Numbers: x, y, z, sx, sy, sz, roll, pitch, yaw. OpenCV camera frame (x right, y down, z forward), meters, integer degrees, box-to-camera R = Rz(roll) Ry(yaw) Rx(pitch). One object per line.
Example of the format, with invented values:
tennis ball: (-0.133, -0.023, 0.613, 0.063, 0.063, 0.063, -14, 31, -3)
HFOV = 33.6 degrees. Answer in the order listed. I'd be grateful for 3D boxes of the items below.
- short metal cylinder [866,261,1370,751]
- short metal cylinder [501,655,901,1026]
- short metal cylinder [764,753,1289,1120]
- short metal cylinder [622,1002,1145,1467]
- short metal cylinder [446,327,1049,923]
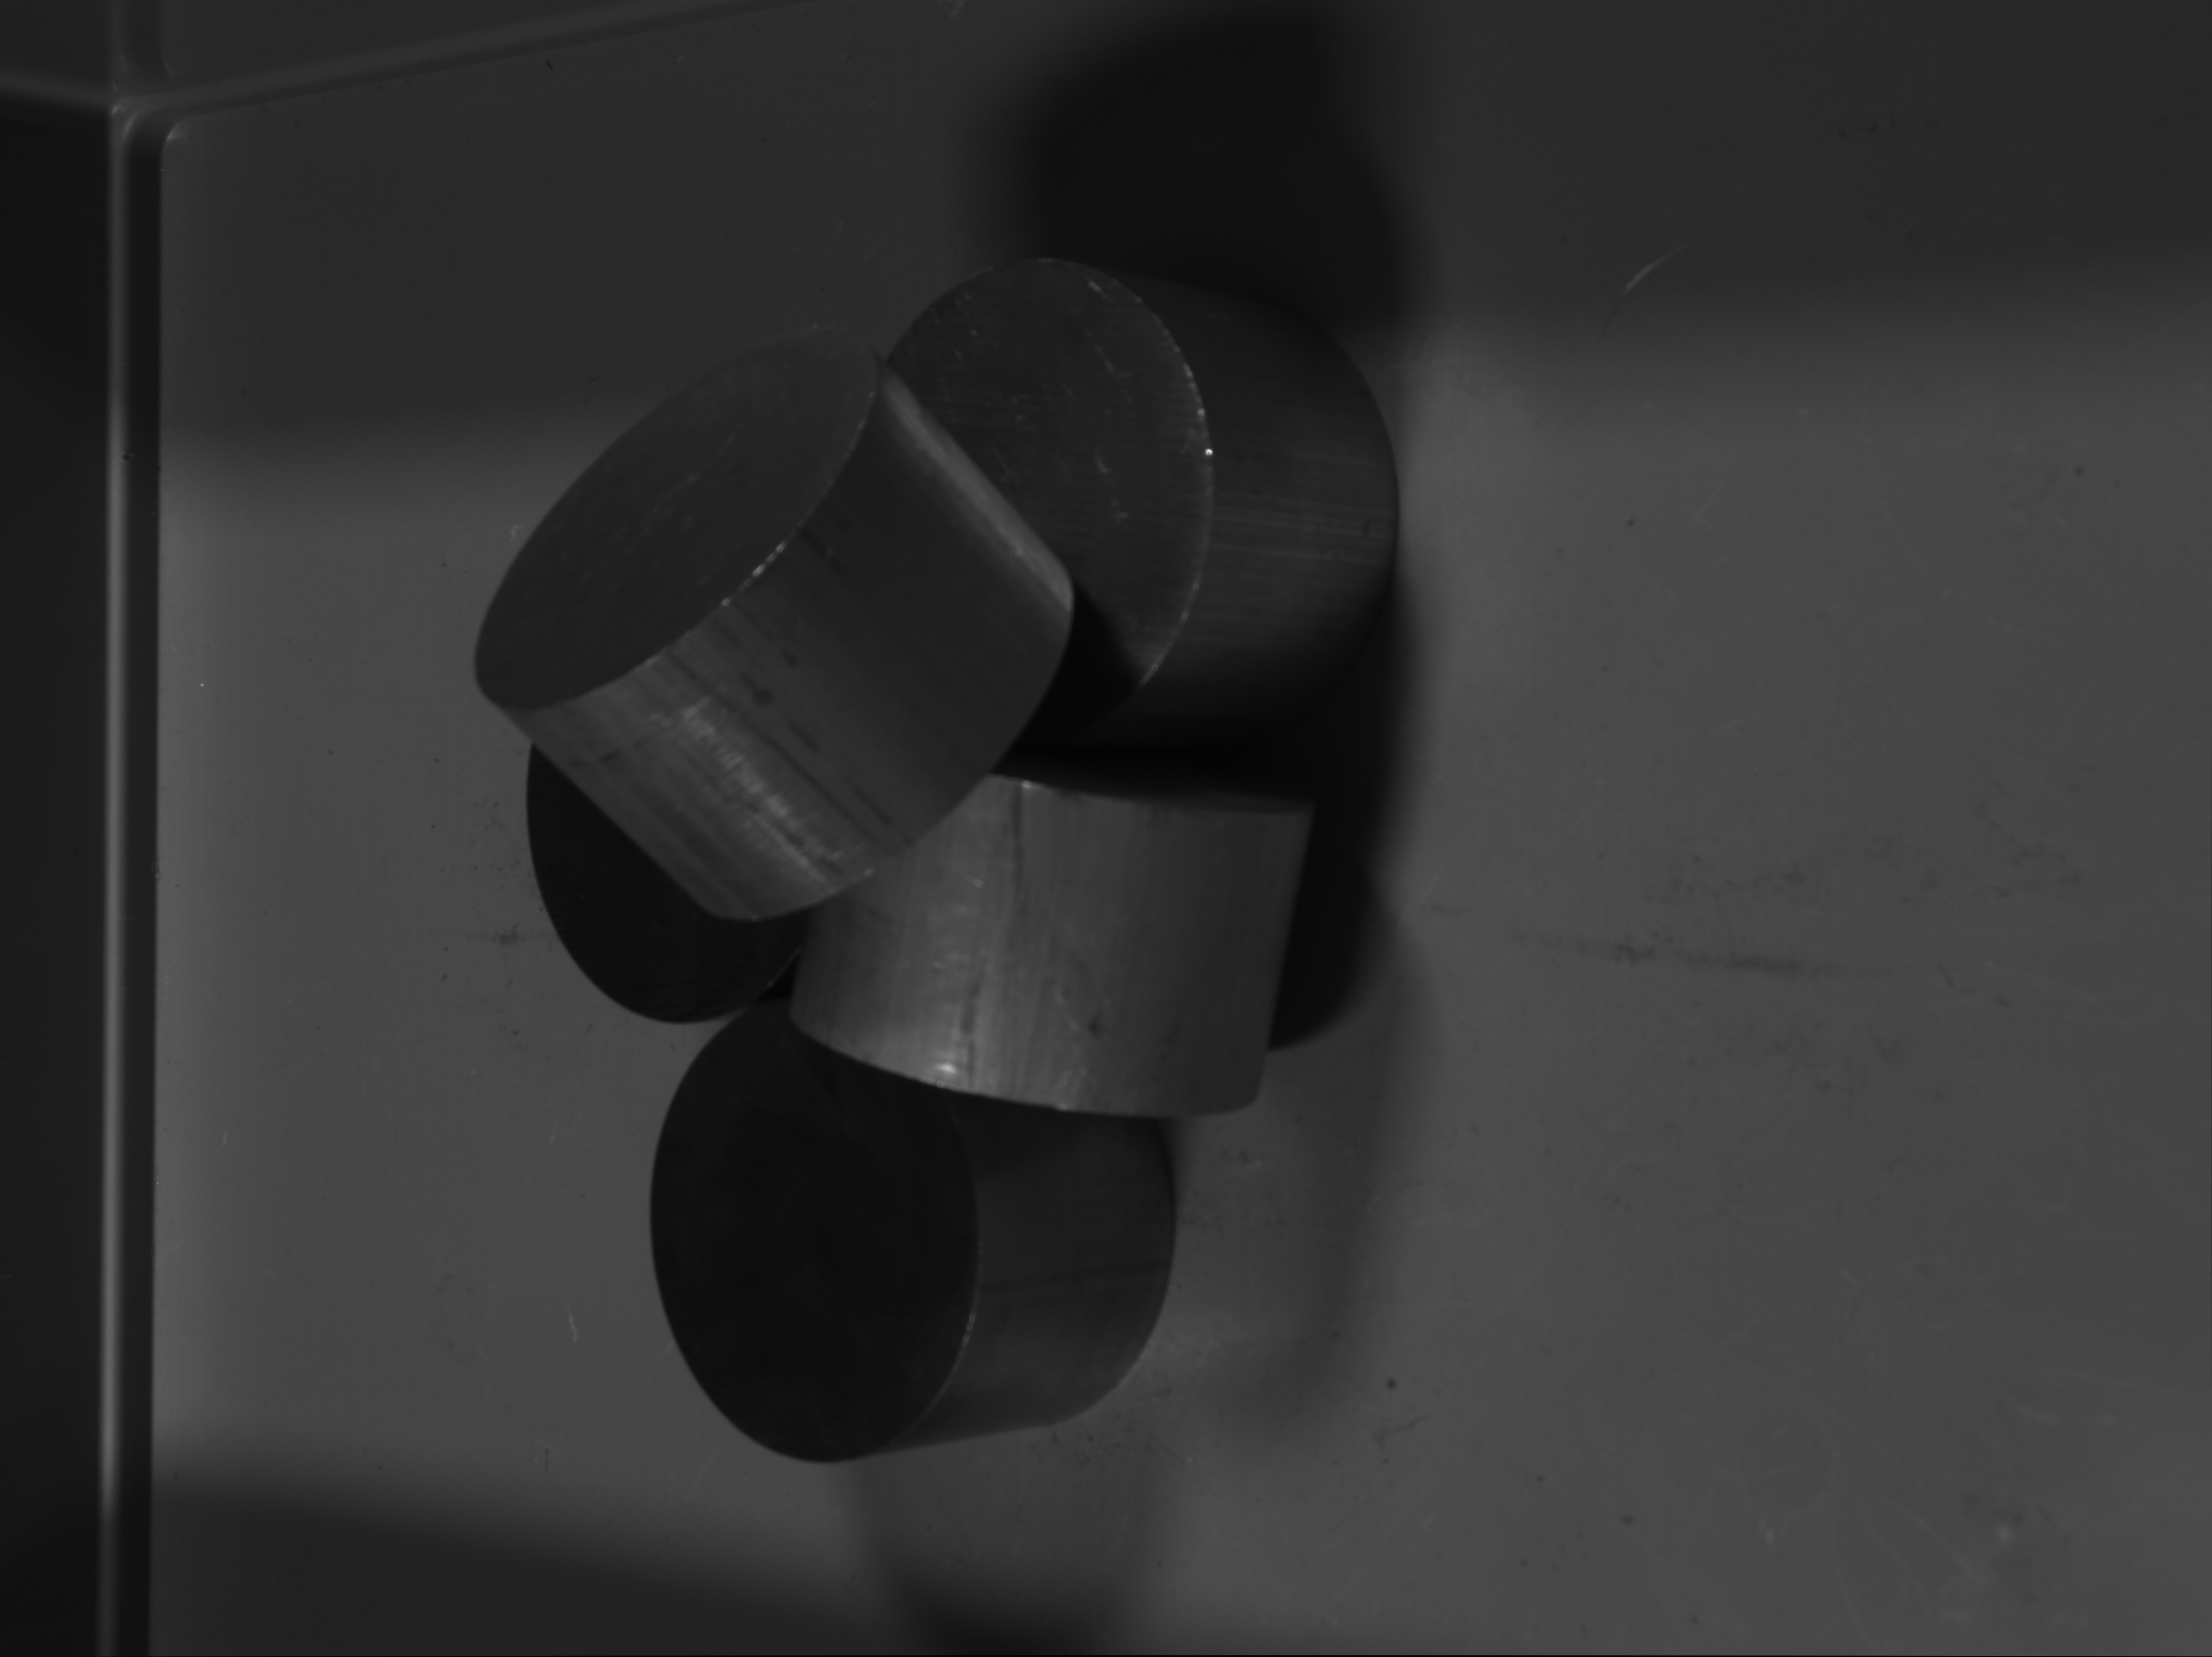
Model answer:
short metal cylinder: (-0.002, -0.053, 0.621, 0.080, 0.050, 0.080, 0, 90, 39)
short metal cylinder: (-0.065, -0.005, 0.671, 0.080, 0.050, 0.080, 0, 90, 39)
short metal cylinder: (-0.013, 0.013, 0.611, 0.080, 0.080, 0.050, 17, 101, 38)
short metal cylinder: (-0.040, 0.070, 0.651, 0.080, 0.050, 0.080, 0, 90, 39)
short metal cylinder: (-0.056, -0.032, 0.574, 0.080, 0.050, 0.080, -29, 33, 21)
